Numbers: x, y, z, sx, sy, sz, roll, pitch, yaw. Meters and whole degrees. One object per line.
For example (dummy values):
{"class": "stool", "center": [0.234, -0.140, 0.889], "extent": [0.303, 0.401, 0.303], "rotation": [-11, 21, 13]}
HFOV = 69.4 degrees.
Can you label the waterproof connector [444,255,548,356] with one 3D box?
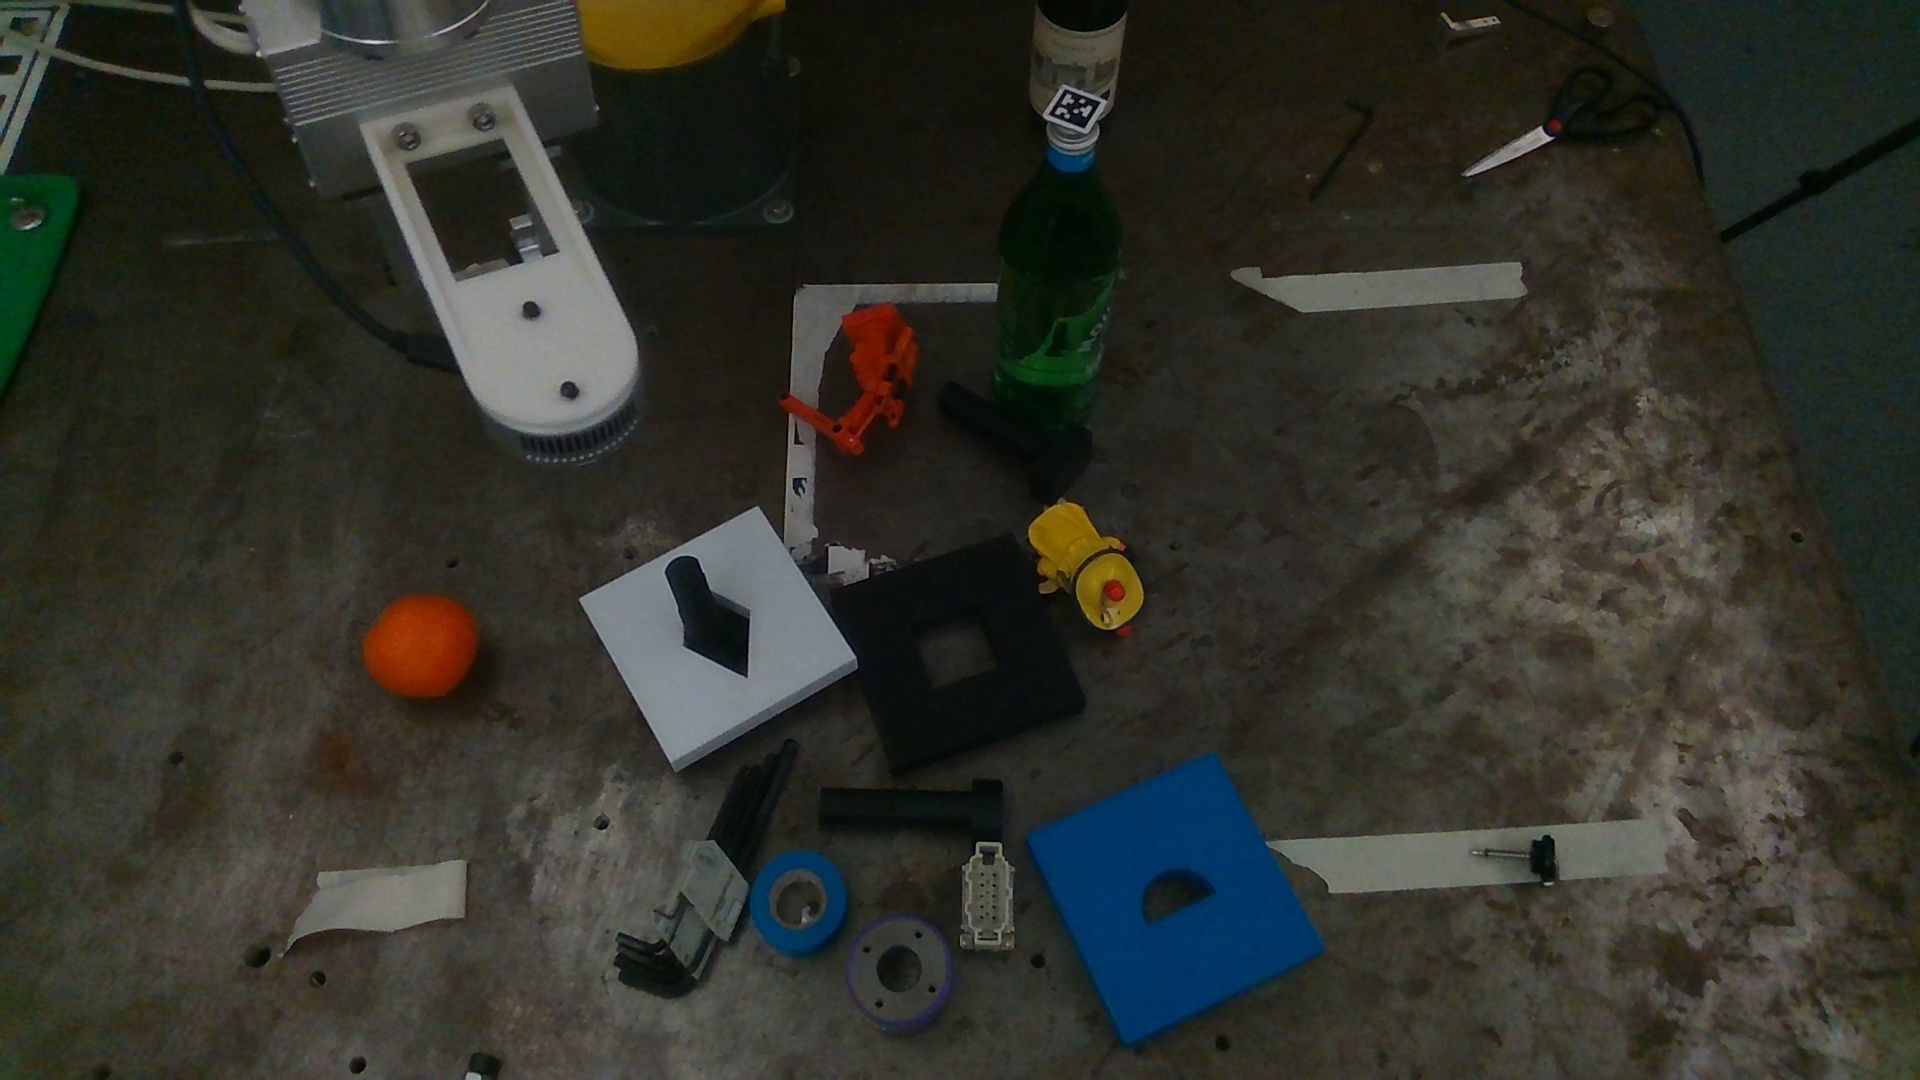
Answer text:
{"class": "waterproof connector", "center": [-0.231, -0.116, 0.691], "extent": [0.036, 0.038, 0.069], "rotation": [-25, 30, -19]}
